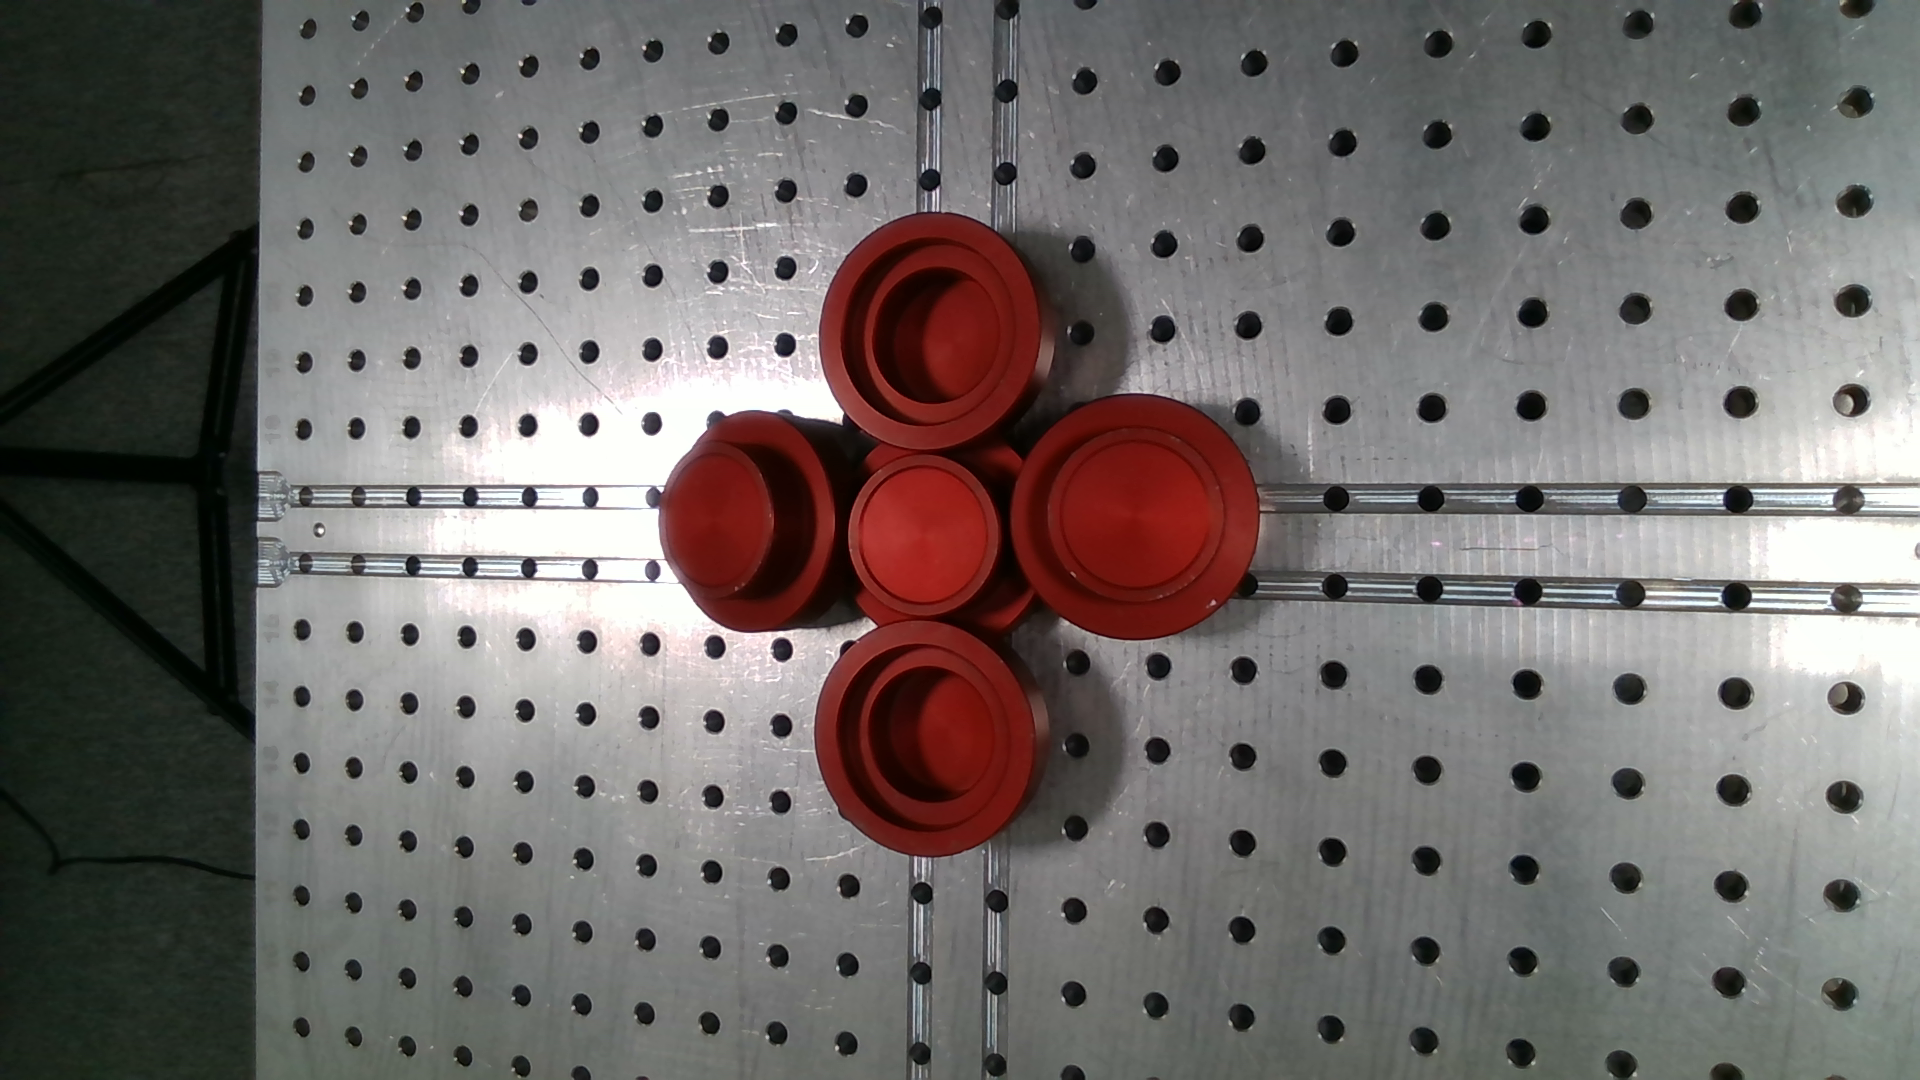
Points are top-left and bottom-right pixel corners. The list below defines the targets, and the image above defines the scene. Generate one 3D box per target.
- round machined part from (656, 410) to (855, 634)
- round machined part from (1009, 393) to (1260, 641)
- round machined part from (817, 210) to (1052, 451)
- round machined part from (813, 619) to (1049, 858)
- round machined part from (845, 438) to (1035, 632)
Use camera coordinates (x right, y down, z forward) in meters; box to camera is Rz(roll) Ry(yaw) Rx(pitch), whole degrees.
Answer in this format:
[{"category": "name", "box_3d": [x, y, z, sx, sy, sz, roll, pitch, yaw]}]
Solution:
[{"category": "round machined part", "box_3d": [-0.094, -0.008, 0.601, 0.098, 0.042, 0.098, 0, 90, 35]}, {"category": "round machined part", "box_3d": [0.068, -0.009, 0.541, 0.098, 0.042, 0.098, 0, 89, 6]}, {"category": "round machined part", "box_3d": [-0.007, -0.085, 0.580, 0.098, 0.042, 0.098, 0, 91, 20]}, {"category": "round machined part", "box_3d": [-0.009, 0.081, 0.583, 0.098, 0.042, 0.098, 0, 91, 20]}, {"category": "round machined part", "box_3d": [-0.009, -0.003, 0.581, 0.098, 0.042, 0.098, 0, 91, 20]}]
